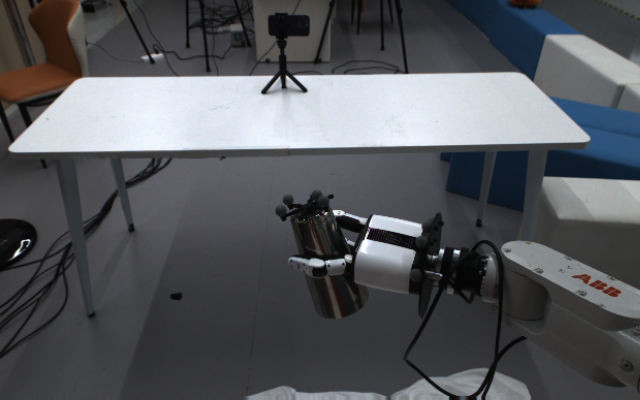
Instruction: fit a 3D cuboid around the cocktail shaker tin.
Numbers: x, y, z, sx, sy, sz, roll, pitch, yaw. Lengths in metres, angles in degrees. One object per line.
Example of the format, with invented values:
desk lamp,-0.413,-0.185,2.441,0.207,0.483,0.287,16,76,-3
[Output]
cocktail shaker tin,0.010,0.092,0.769,0.093,0.170,0.093,-17,20,7
